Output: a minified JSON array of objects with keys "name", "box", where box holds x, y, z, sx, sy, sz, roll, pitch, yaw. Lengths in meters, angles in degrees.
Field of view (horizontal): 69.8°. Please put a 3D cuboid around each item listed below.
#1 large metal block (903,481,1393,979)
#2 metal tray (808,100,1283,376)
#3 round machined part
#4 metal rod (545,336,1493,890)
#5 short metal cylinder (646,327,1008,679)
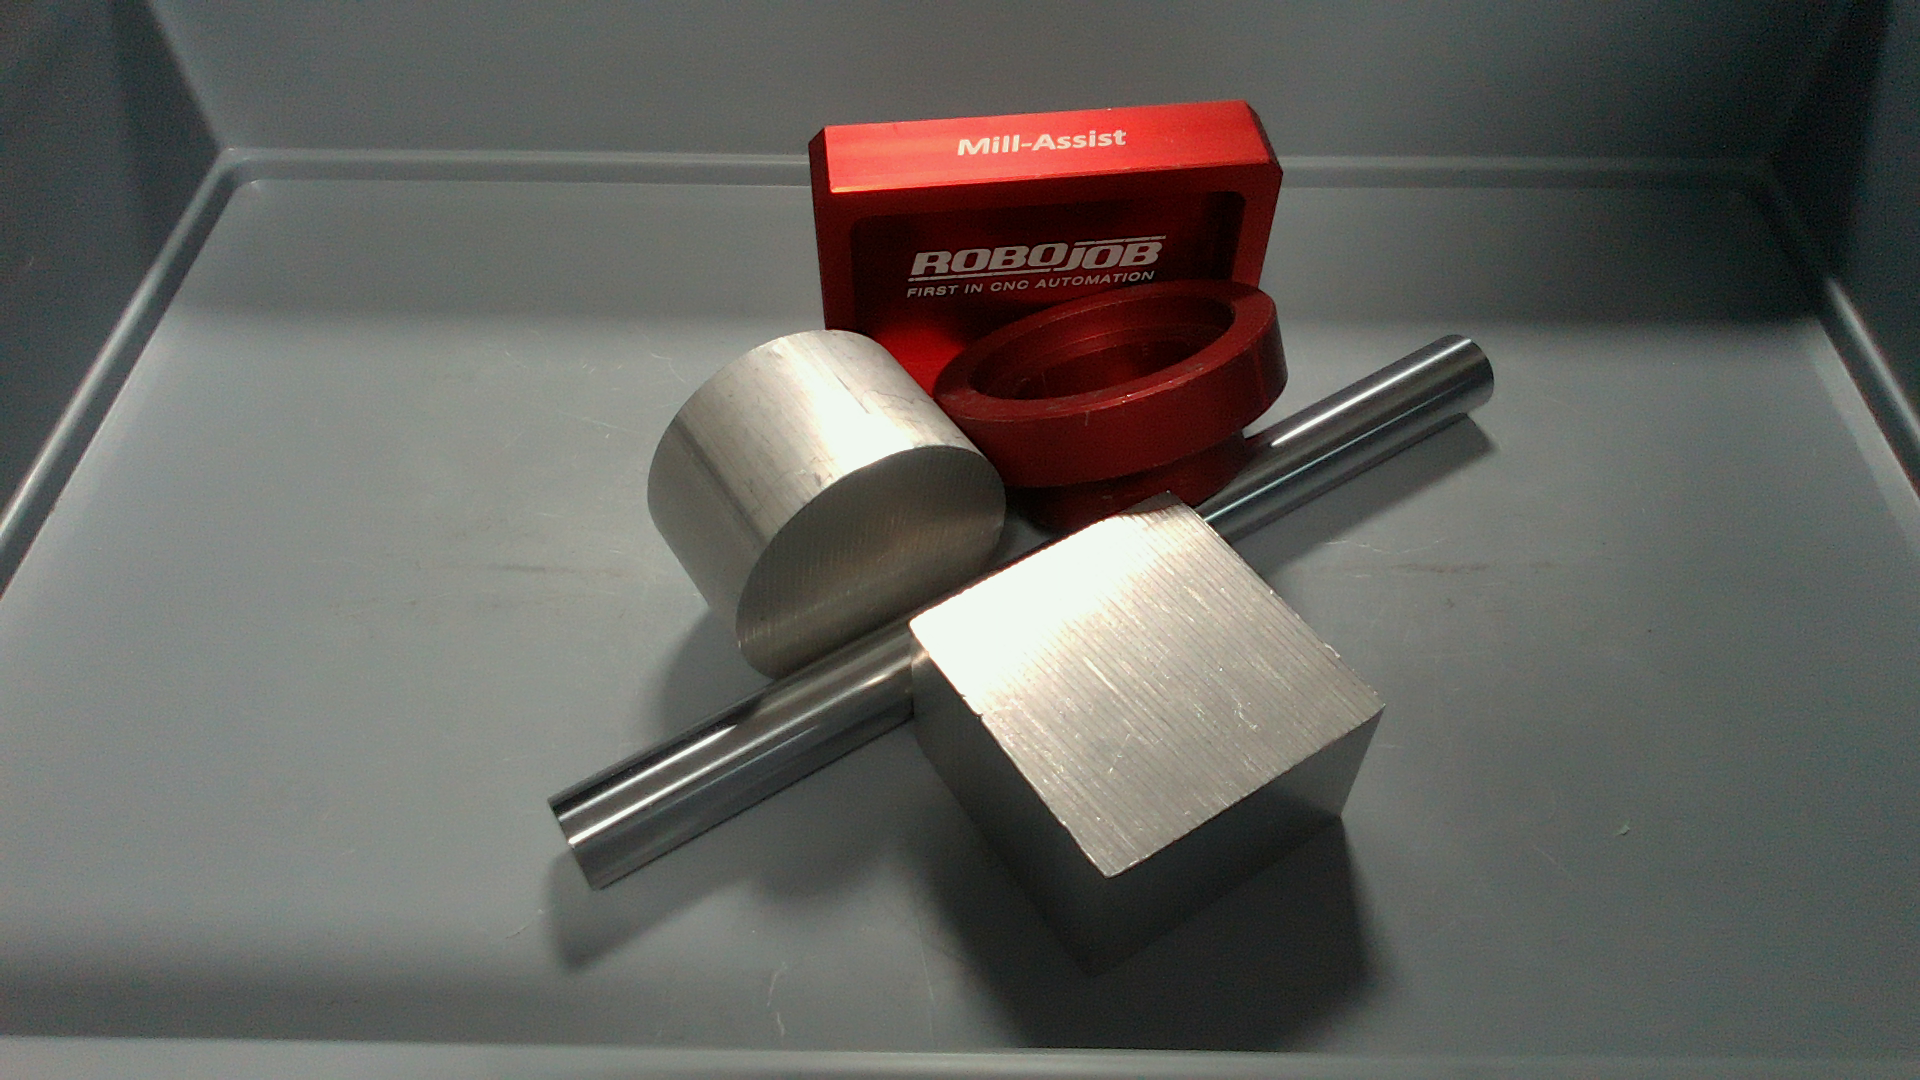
[{"name":"large metal block","box":[0.042,0.043,0.336,0.080,0.050,0.080,-26,55,-20]},{"name":"metal tray","box":[0.023,-0.082,0.415,0.130,0.090,0.030,-5,50,-5]},{"name":"round machined part","box":[0.045,-0.038,0.393,0.098,0.042,0.098,-13,24,6]},{"name":"metal rod","box":[0.032,0.010,0.382,0.301,0.025,0.025,-26,55,-21]},{"name":"short metal cylinder","box":[-0.034,-0.008,0.361,0.080,0.080,0.050,-27,55,-21]}]
